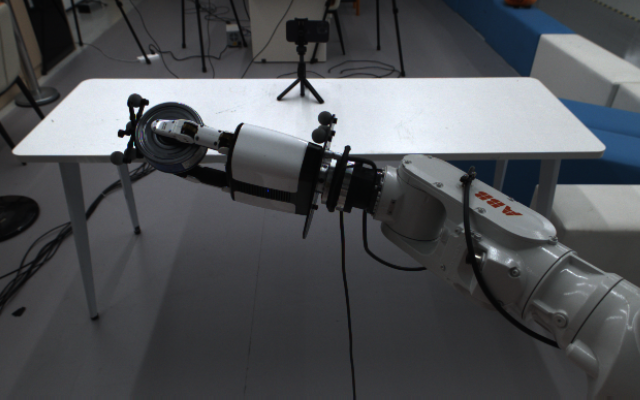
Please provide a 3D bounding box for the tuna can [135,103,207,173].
[{"bbox_3d":[-0.182,-0.075,0.605,0.085,0.034,0.085,1,75,-4],"label":"tuna can"}]
